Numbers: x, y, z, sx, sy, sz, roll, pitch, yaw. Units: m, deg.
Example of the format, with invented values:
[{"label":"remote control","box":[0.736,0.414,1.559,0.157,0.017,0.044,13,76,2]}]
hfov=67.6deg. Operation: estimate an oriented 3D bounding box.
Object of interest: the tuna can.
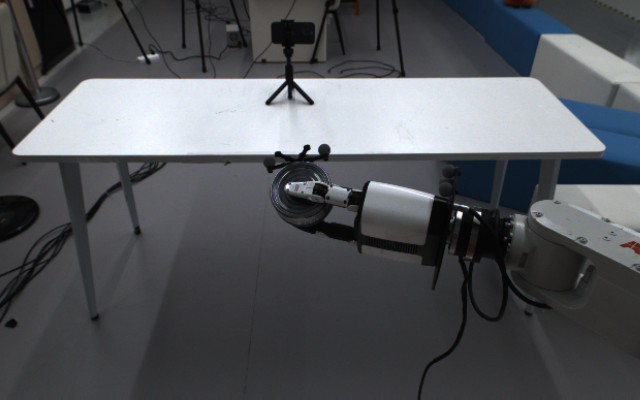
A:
[{"label":"tuna can","box":[-0.020,-0.004,0.654,0.085,0.034,0.085,-4,68,9]}]
